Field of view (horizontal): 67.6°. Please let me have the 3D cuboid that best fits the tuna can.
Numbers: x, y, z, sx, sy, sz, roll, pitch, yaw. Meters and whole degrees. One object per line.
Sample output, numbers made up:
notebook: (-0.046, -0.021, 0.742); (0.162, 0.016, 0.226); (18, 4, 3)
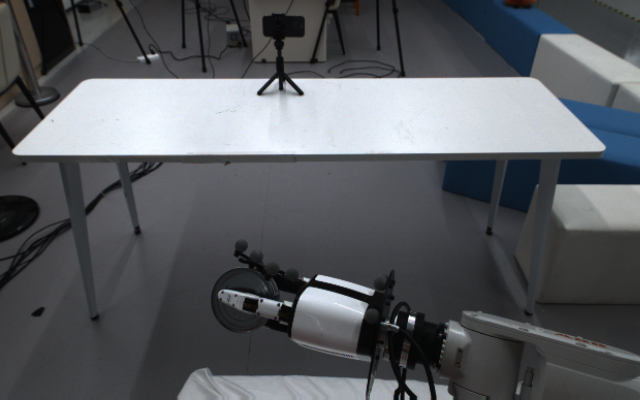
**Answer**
tuna can: (-0.096, 0.132, 0.644); (0.085, 0.085, 0.034); (10, -4, 11)
